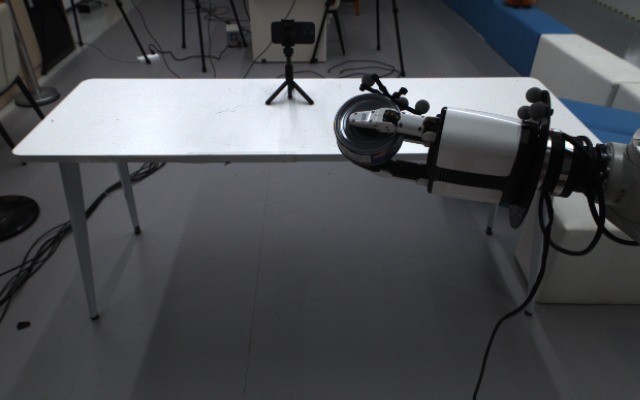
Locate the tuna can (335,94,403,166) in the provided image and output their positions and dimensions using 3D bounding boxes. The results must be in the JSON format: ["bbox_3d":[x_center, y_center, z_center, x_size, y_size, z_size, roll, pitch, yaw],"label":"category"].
[{"bbox_3d":[0.065,-0.083,0.596,0.085,0.034,0.085,-4,69,10],"label":"tuna can"}]
